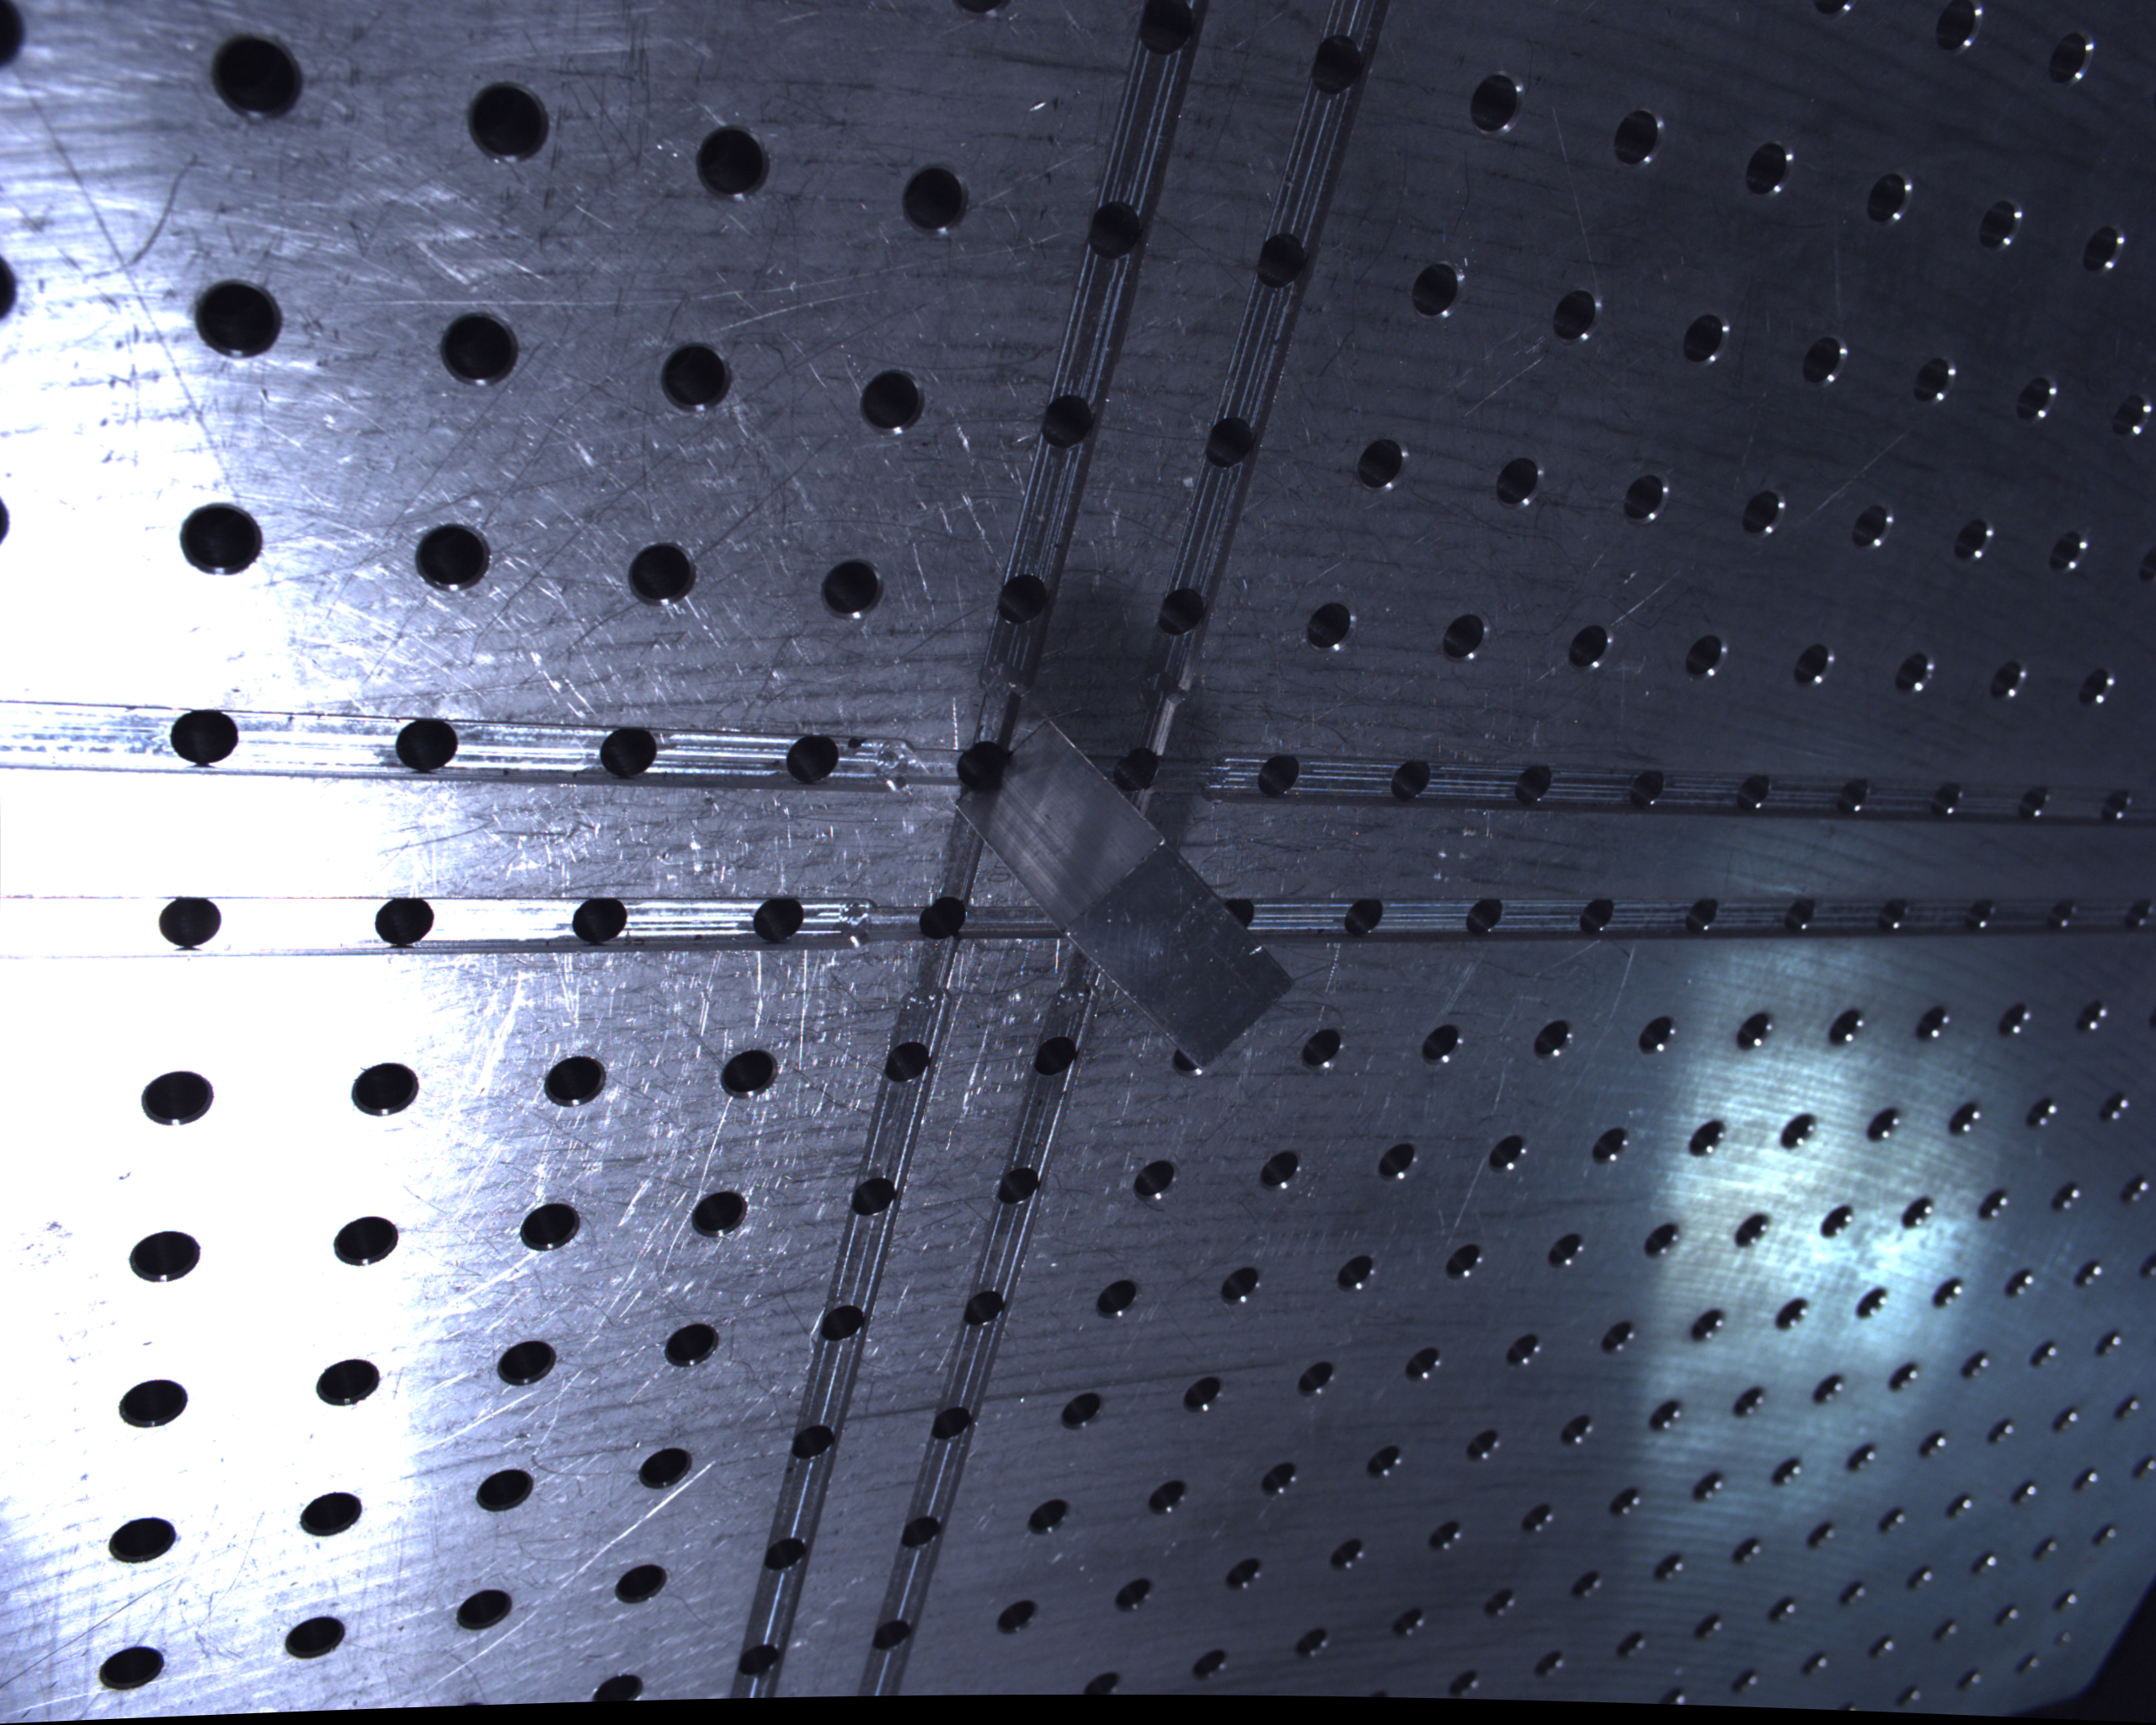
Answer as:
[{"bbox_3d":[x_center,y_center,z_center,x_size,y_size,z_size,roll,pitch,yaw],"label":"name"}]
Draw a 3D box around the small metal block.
[{"bbox_3d":[0.009,0.006,0.405,0.025,0.050,0.050,-43,130,1],"label":"small metal block"}]
